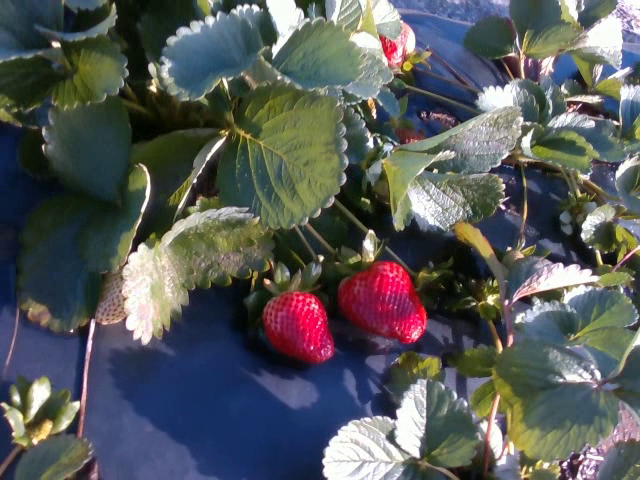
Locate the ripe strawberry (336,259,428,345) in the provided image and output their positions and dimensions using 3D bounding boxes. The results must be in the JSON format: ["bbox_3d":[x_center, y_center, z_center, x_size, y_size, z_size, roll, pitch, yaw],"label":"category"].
[{"bbox_3d":[0.040,0.038,0.349,0.052,0.058,0.046,-35,-32,-9],"label":"ripe strawberry"}]

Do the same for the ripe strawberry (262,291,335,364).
[{"bbox_3d":[-0.009,0.048,0.324,0.051,0.043,0.037,43,-7,28],"label":"ripe strawberry"}]
